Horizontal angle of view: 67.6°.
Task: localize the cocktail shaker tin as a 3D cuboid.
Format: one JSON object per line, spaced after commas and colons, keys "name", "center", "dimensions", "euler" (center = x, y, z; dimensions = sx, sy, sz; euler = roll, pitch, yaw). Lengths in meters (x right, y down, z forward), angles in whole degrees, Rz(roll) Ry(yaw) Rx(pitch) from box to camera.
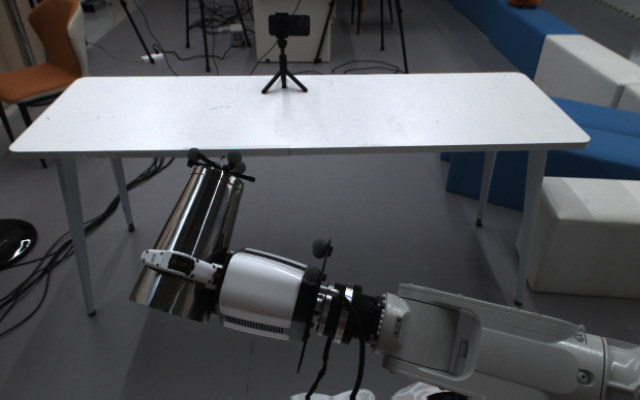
{"name": "cocktail shaker tin", "center": [-0.149, 0.050, 0.574], "dimensions": [0.093, 0.093, 0.170], "euler": [13, 73, 15]}
